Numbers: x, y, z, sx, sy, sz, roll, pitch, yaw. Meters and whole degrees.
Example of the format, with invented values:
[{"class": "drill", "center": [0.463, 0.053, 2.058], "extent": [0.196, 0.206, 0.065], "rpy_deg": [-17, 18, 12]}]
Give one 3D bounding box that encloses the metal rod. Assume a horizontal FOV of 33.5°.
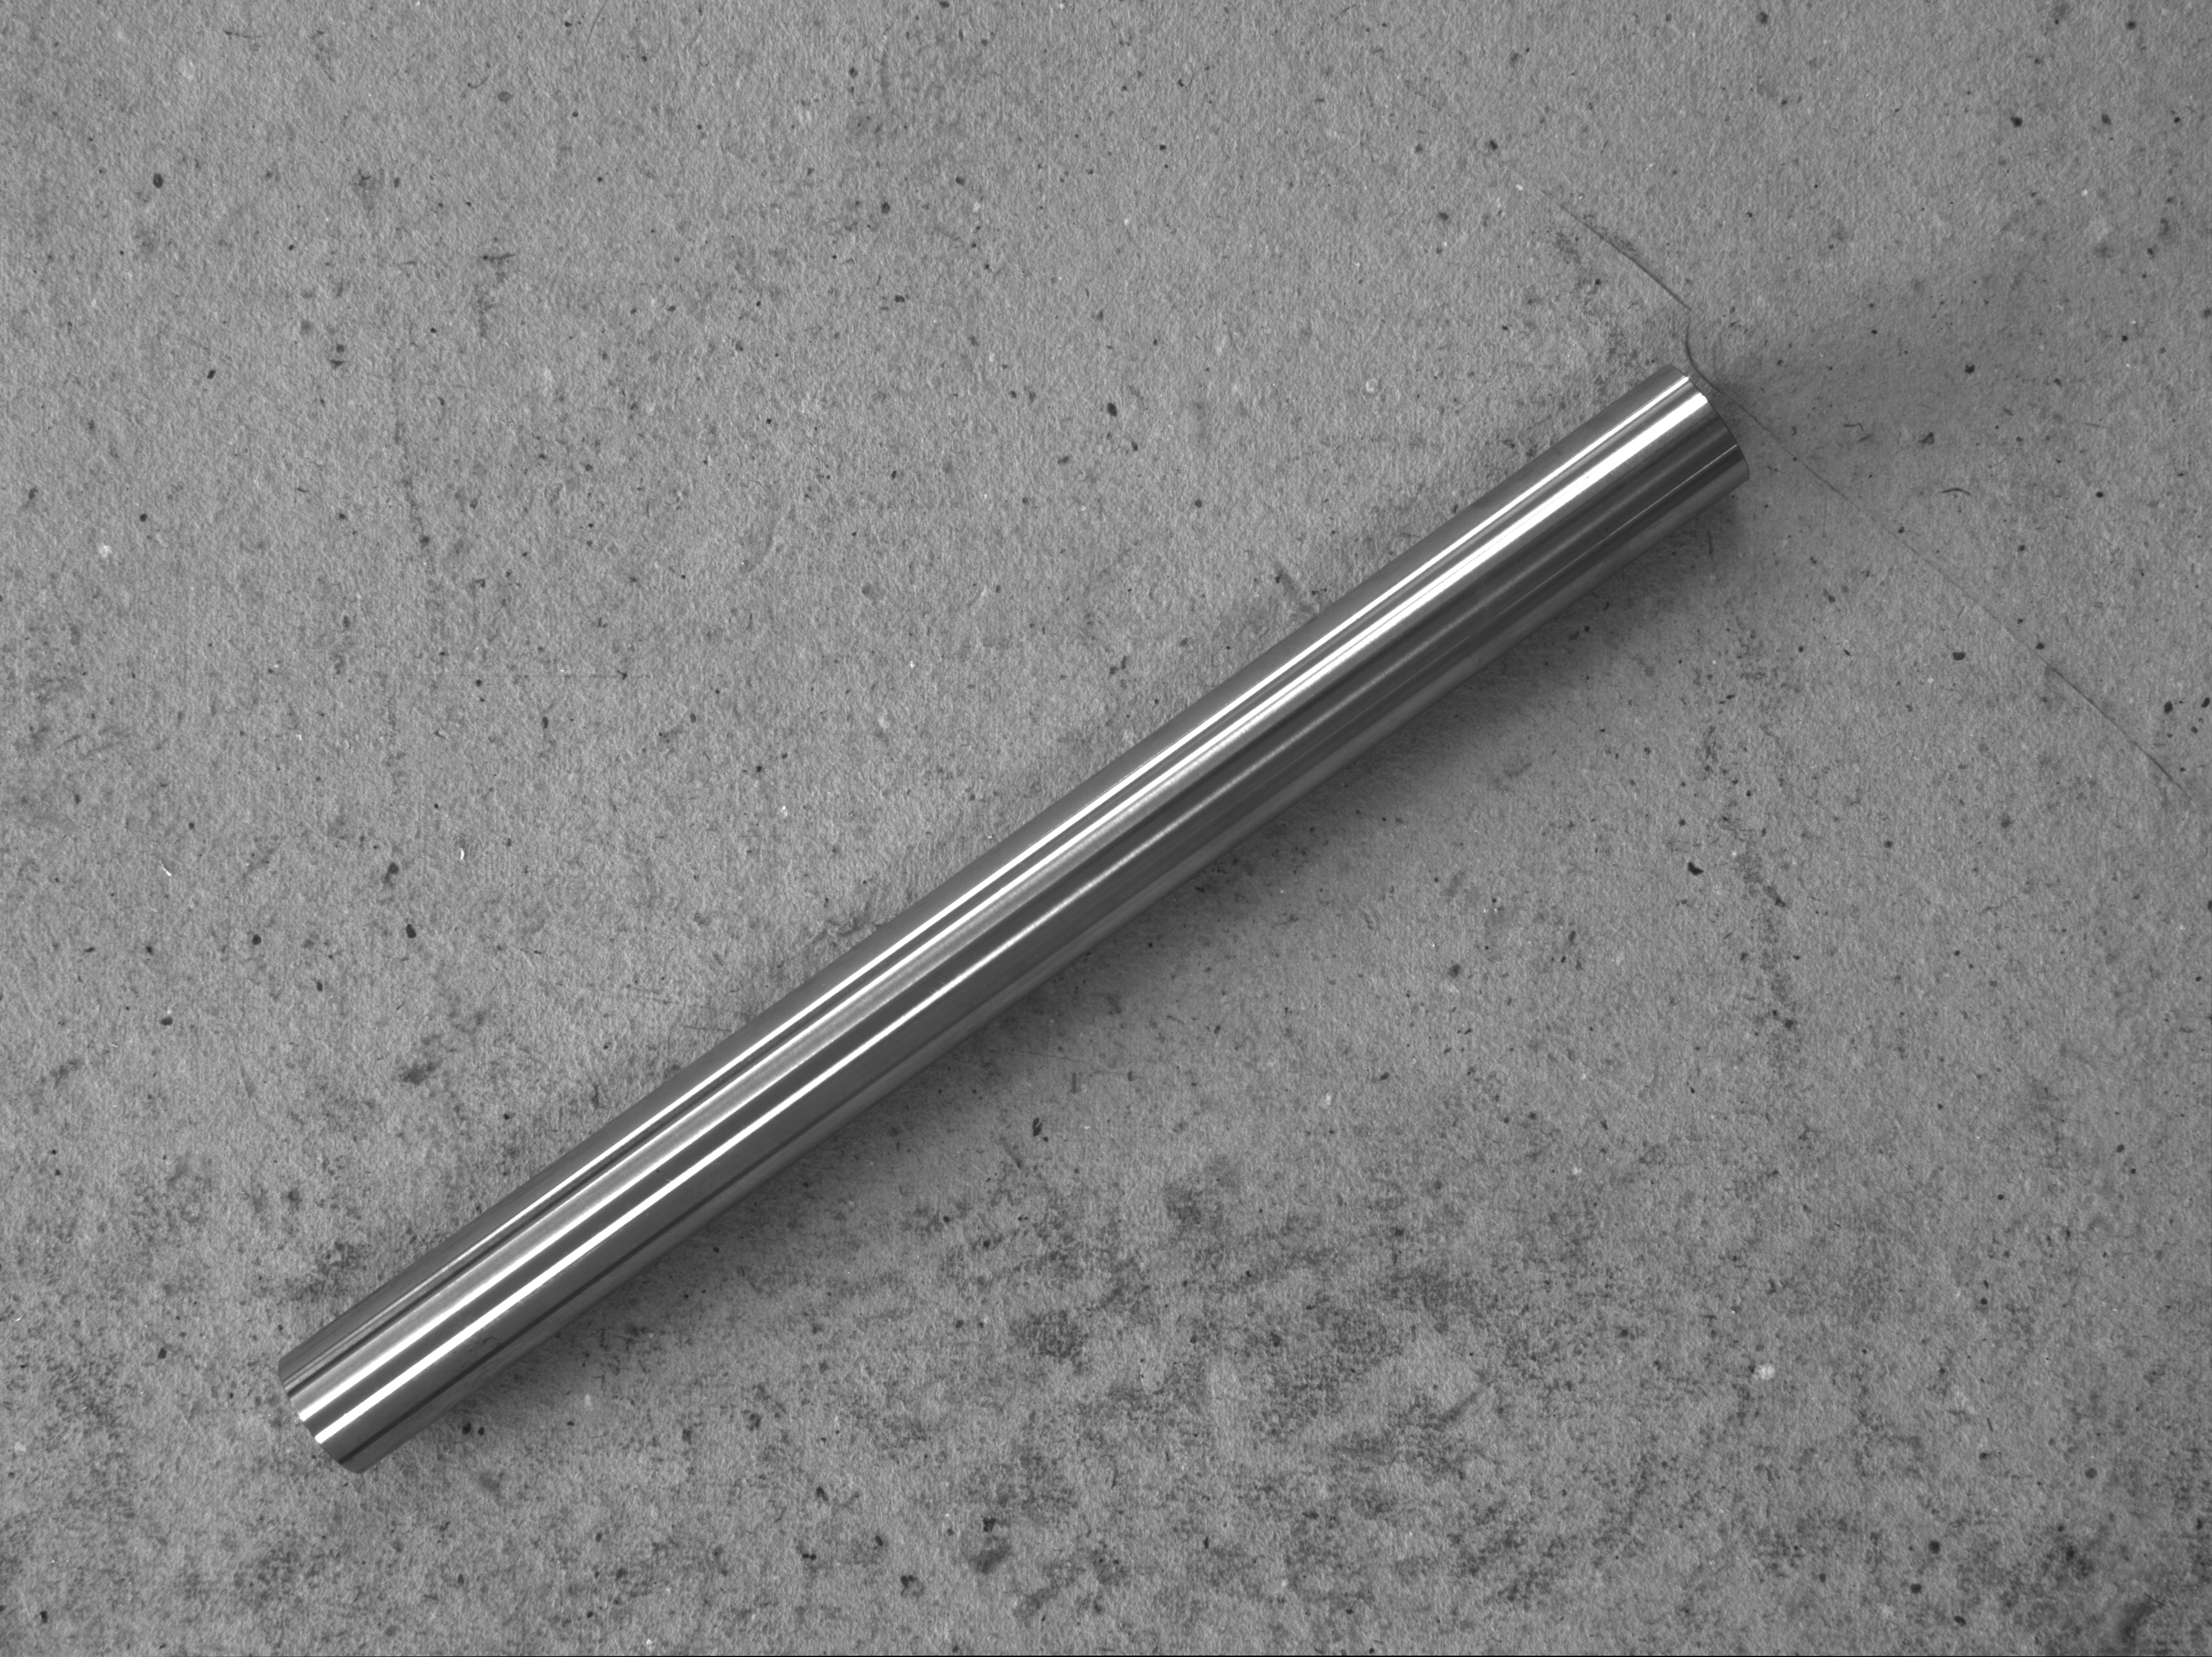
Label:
[{"class": "metal rod", "center": [-0.017, 0.016, 0.646], "extent": [0.300, 0.025, 0.025], "rpy_deg": [-36, 90, 0]}]
